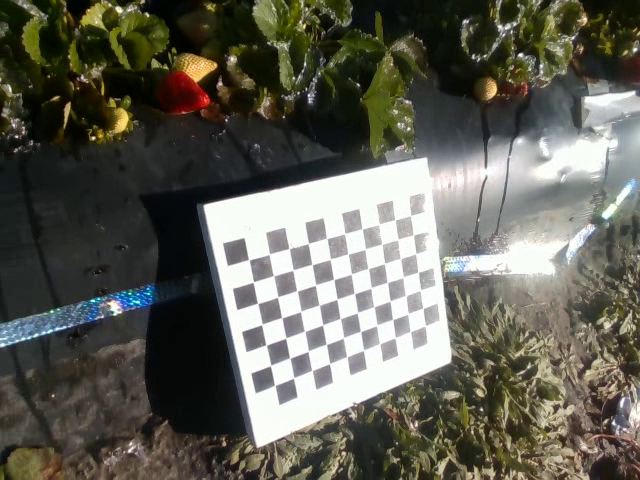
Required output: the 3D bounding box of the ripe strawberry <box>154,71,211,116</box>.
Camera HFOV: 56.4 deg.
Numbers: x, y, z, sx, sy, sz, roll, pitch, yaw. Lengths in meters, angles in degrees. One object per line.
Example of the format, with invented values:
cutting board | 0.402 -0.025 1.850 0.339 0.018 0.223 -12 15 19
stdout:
ripe strawberry | -0.113 -0.127 0.522 0.053 0.040 0.042 22 -24 33
